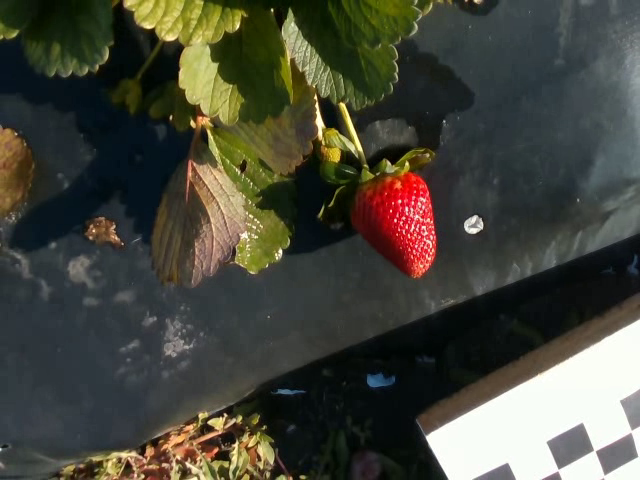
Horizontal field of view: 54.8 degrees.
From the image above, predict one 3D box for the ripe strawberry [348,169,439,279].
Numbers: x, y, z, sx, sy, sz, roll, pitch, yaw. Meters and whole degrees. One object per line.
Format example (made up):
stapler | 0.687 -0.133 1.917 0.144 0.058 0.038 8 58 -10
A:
ripe strawberry | 0.036 -0.006 0.268 0.045 0.055 0.042 -23 -9 -8
